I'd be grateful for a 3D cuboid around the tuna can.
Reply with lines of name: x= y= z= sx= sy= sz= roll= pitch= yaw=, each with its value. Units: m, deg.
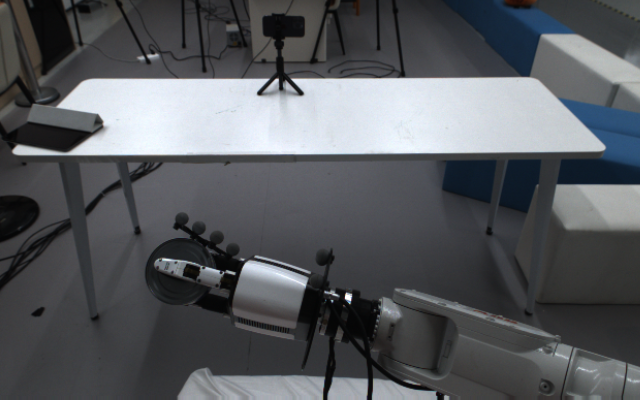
tuna can: x=-0.178 y=0.095 z=0.628 sx=0.085 sy=0.034 sz=0.085 roll=1 pitch=75 yaw=-4
